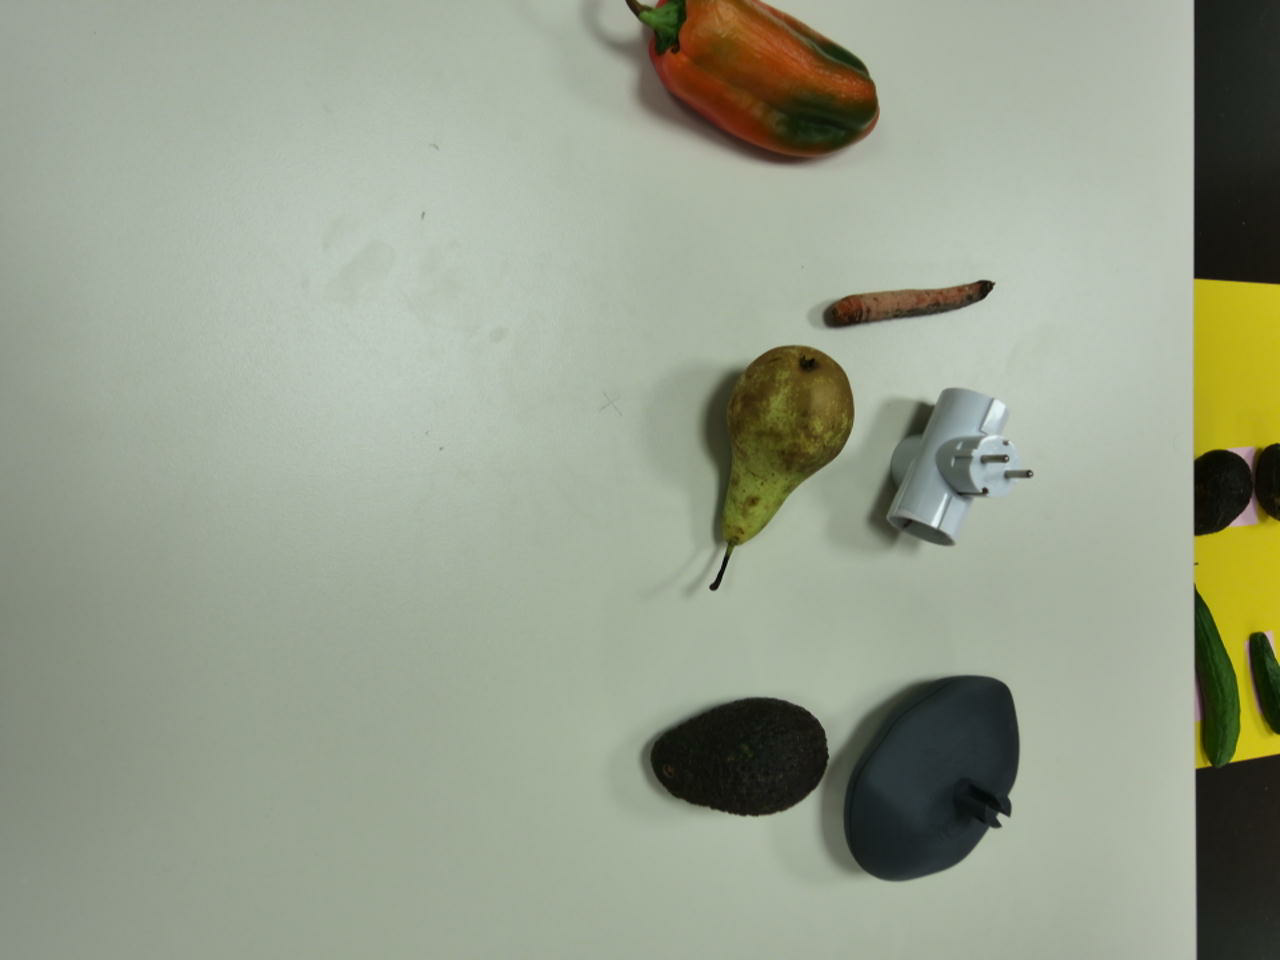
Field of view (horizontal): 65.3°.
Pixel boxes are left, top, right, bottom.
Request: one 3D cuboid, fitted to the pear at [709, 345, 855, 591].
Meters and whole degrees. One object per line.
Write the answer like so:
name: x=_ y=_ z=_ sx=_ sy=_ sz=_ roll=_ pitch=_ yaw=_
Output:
pear: x=0.082 y=-0.005 z=0.567 sx=0.071 sy=0.075 sz=0.144 roll=7 pitch=88 yaw=-22
